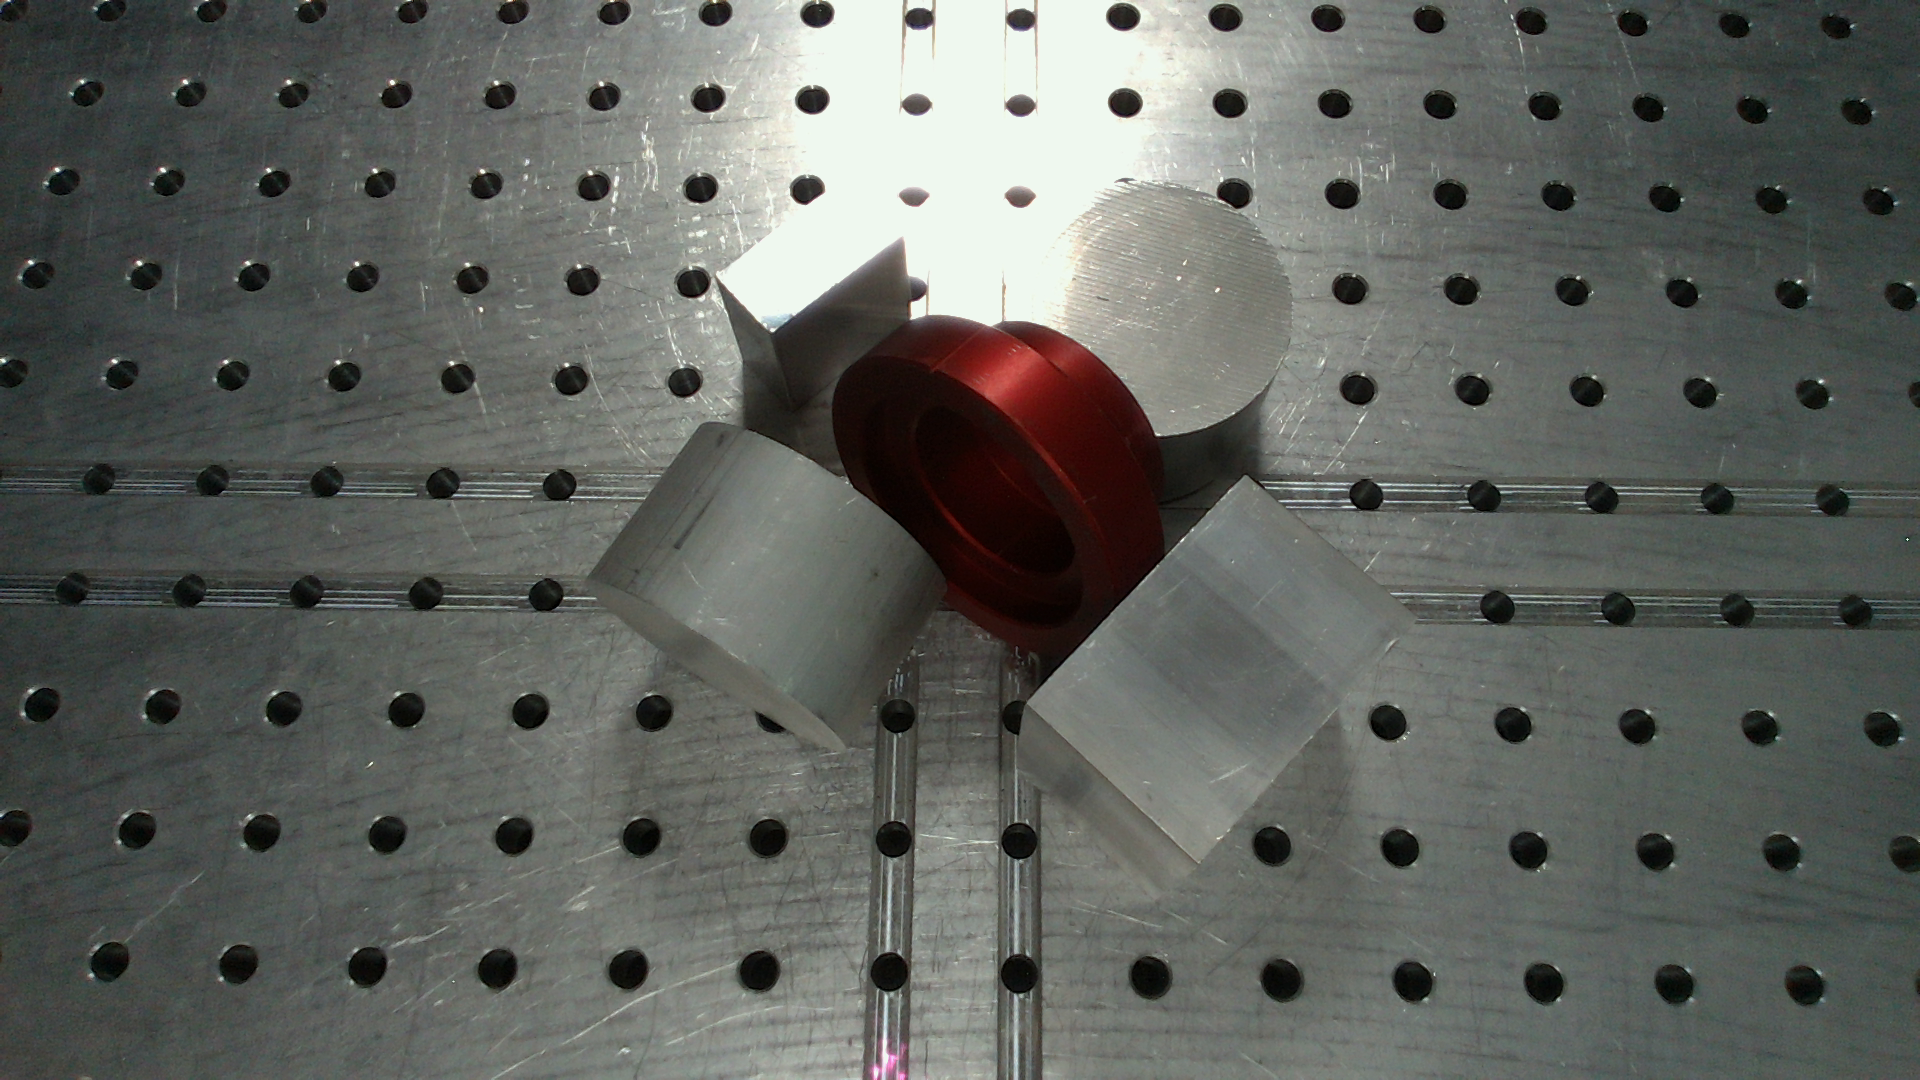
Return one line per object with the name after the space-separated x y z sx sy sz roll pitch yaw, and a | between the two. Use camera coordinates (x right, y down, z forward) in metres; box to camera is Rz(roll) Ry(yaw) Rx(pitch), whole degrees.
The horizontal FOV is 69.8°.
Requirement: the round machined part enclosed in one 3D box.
0.015 -0.019 0.366 0.098 0.098 0.042 39 62 13 | round machined part

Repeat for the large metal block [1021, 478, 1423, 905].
0.062 0.042 0.353 0.050 0.080 0.080 41 75 14 | large metal block

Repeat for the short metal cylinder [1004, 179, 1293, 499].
0.052 -0.057 0.404 0.080 0.050 0.080 0 70 0 | short metal cylinder

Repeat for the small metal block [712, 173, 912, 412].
-0.042 -0.073 0.410 0.050 0.050 0.025 -40 75 -13 | small metal block

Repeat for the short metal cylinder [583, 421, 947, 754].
-0.051 0.013 0.362 0.080 0.080 0.050 29 73 10 | short metal cylinder
